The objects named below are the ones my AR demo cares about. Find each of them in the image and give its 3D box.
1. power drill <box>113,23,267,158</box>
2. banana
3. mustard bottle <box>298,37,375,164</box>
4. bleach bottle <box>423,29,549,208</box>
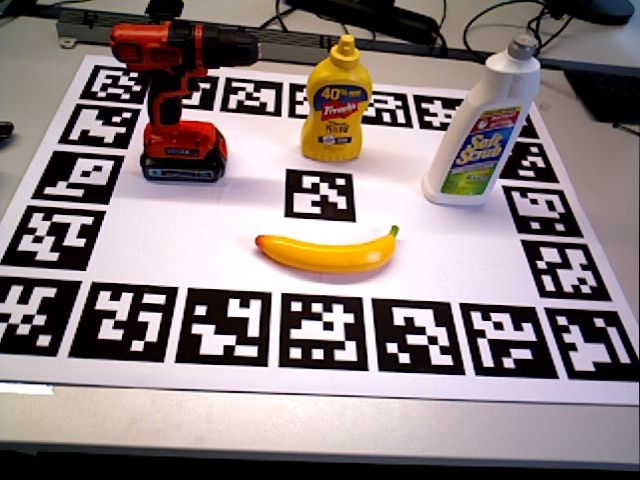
[{"bbox_3d":[-0.156,-0.194,0.700,0.183,0.191,0.056,-2,51,-6],"label":"power drill"},{"bbox_3d":[0.017,0.009,0.685,0.196,0.040,0.073,-2,53,-6],"label":"banana"},{"bbox_3d":[0.026,-0.196,0.768,0.095,0.196,0.057,-1,51,-12],"label":"mustard bottle"},{"bbox_3d":[0.220,-0.154,0.718,0.102,0.257,0.066,11,49,0],"label":"bleach bottle"}]
